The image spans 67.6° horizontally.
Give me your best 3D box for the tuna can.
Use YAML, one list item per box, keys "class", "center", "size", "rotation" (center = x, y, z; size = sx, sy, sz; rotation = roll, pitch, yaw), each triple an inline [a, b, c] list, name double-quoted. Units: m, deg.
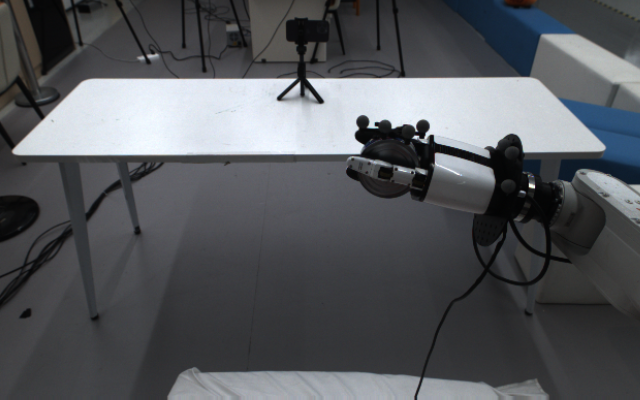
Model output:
- class: "tuna can"
  center: [0.096, -0.048, 0.670]
  size: [0.085, 0.085, 0.034]
  rotation: [6, 22, 6]
